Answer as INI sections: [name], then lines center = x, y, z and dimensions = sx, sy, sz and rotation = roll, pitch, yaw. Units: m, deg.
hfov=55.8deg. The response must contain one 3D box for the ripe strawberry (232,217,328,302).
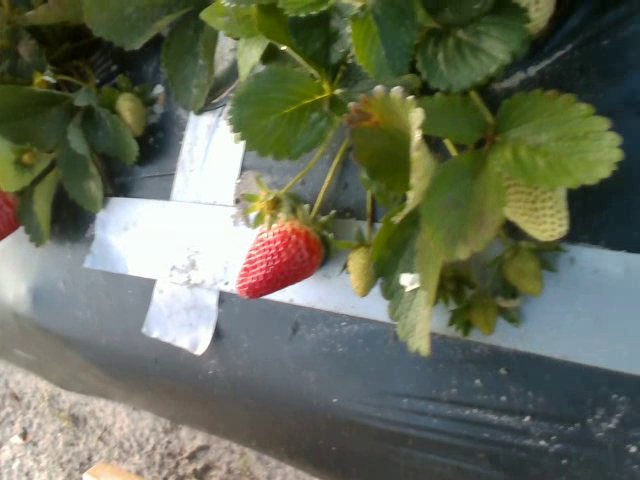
[ripe strawberry]
center = -0.012, 0.006, 0.150
dimensions = 0.020, 0.026, 0.023
rotation = 43, -6, -38
